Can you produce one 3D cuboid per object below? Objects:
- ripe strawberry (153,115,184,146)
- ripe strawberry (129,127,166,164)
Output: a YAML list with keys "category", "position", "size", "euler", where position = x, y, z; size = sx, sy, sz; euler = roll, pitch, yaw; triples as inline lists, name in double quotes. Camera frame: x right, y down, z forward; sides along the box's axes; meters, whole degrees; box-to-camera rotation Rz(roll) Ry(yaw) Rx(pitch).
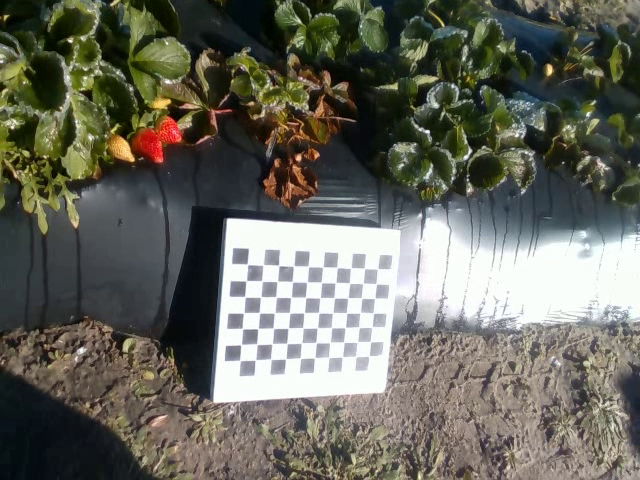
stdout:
- category: "ripe strawberry"
  position: [-0.193, -0.141, 0.756]
  size: [0.041, 0.036, 0.030]
  euler: [32, -8, -18]
- category: "ripe strawberry"
  position: [-0.210, -0.113, 0.733]
  size: [0.036, 0.052, 0.040]
  euler: [-37, -19, -17]
